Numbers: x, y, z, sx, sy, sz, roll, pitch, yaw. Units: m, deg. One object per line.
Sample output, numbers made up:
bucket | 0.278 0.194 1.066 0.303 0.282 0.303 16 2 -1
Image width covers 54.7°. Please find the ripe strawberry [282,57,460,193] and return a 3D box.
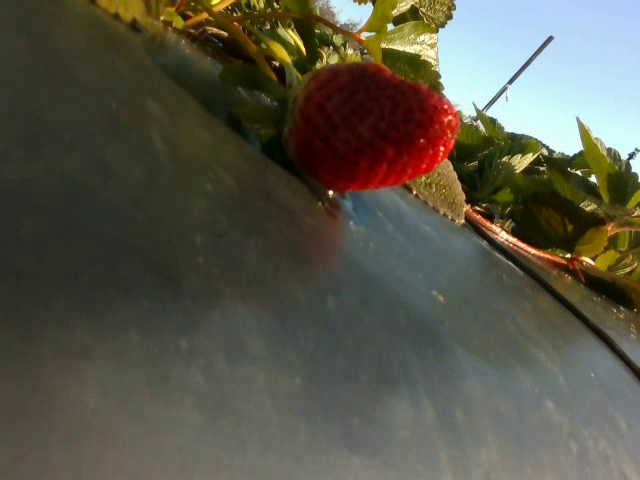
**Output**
ripe strawberry | 0.010 -0.020 0.111 0.028 0.031 0.041 -11 11 -43
